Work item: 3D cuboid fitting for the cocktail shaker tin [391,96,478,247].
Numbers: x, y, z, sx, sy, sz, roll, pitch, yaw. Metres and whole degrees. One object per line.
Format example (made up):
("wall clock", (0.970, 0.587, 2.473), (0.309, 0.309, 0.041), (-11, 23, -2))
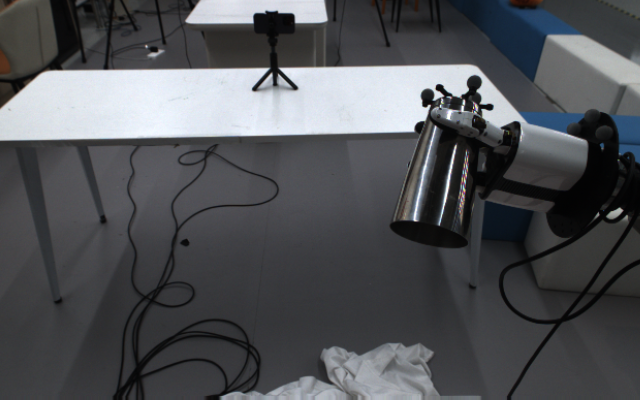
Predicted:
("cocktail shaker tin", (0.150, -0.040, 0.592), (0.093, 0.093, 0.170), (13, 72, 15))
